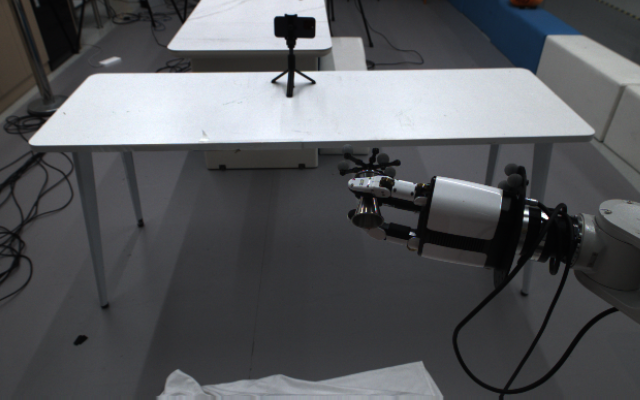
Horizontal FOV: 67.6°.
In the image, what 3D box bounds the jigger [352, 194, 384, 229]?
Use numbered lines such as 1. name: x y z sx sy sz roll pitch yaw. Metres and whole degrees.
1. jigger: 0.064 -0.004 0.652 0.043 0.043 0.071 4 61 3
